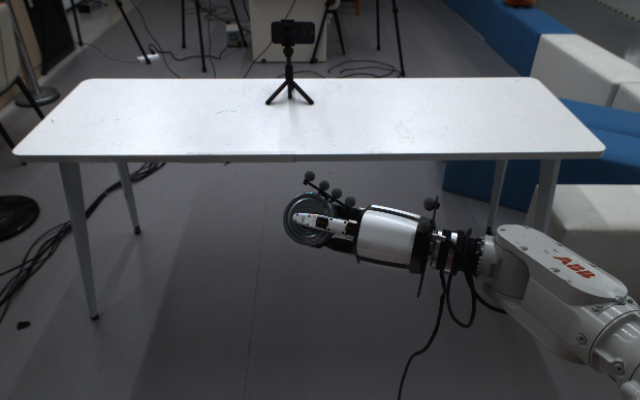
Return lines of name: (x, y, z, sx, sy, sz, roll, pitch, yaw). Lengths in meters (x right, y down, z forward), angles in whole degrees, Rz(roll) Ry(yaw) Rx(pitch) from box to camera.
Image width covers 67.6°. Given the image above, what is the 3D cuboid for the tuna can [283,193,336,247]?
tuna can: (-0.014, 0.030, 0.777, 0.085, 0.085, 0.034, 13, -4, 15)
